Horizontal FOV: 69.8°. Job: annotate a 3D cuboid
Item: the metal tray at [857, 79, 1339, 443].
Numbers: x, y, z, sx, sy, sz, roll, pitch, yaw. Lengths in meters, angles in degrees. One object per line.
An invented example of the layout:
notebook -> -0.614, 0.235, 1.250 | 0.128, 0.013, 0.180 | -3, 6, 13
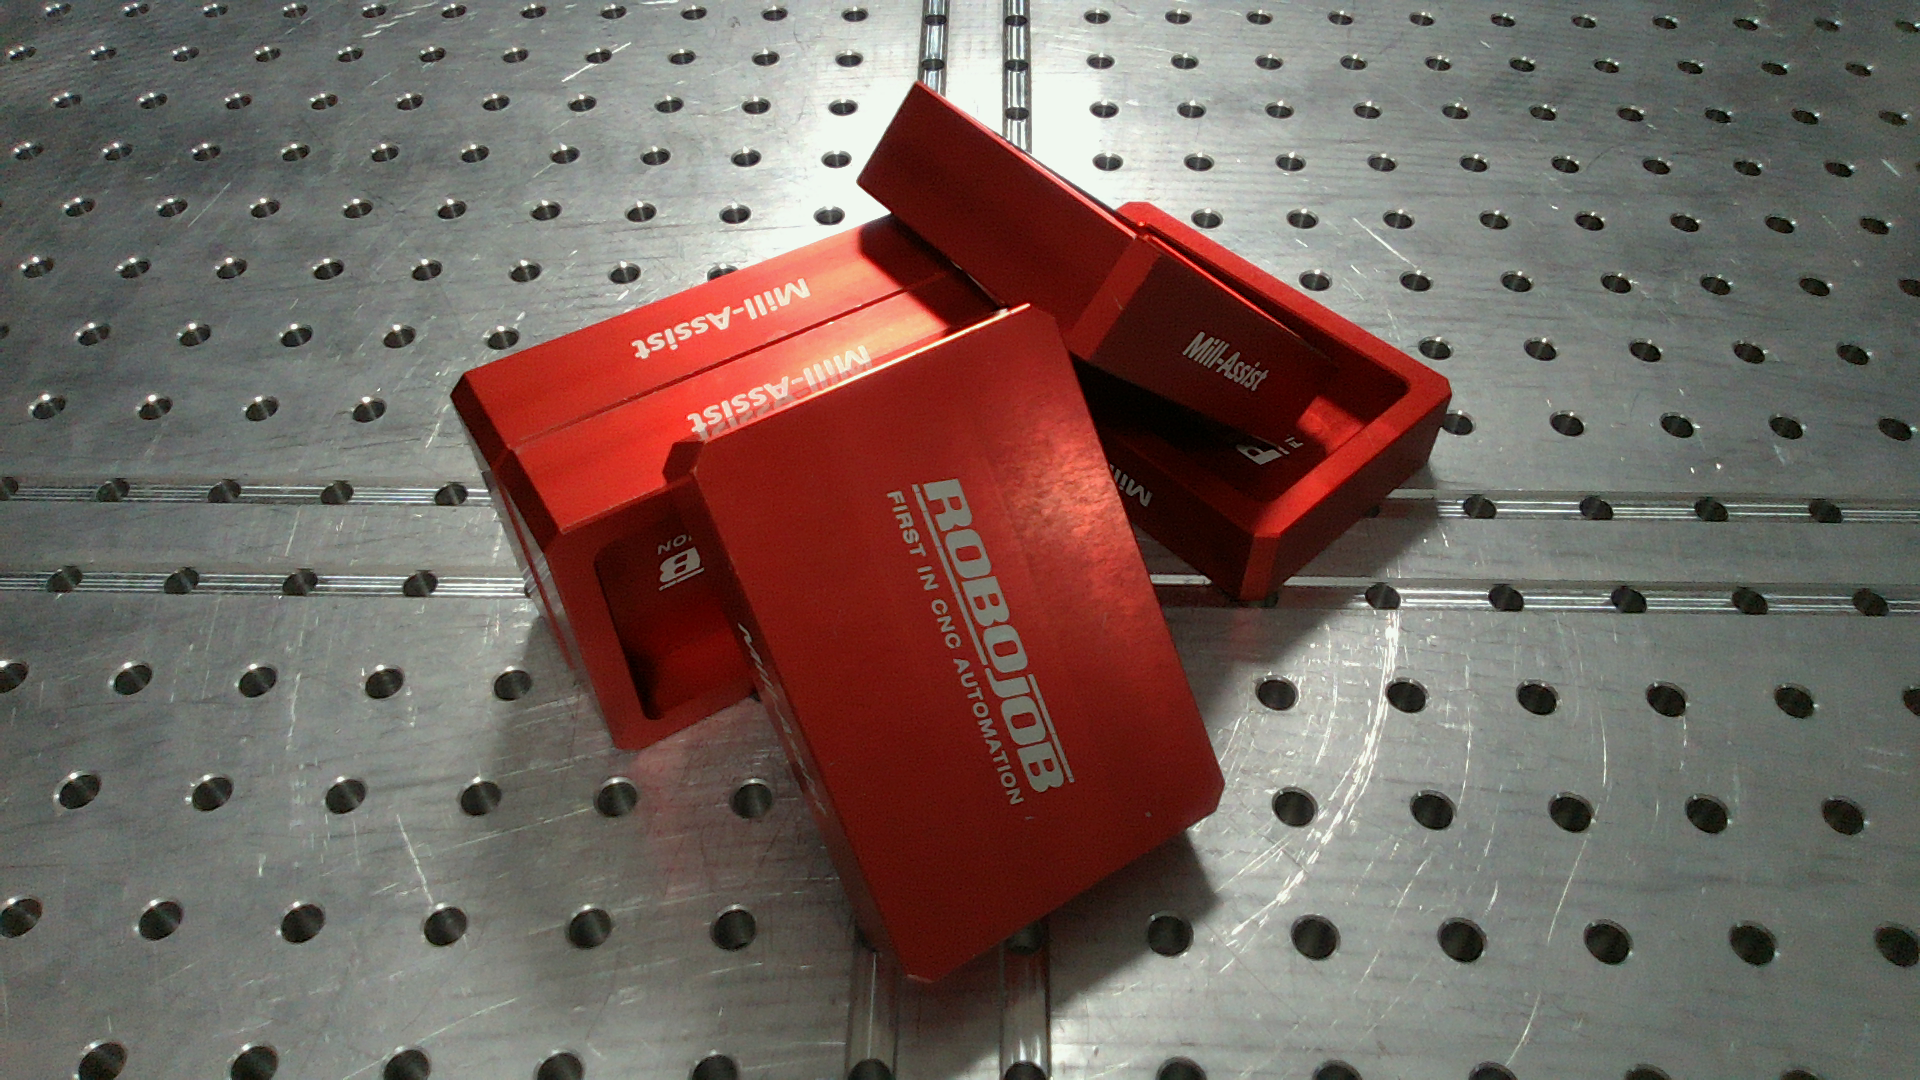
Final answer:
metal tray -> 0.043, -0.074, 0.383 | 0.090, 0.030, 0.130 | 43, 17, 30

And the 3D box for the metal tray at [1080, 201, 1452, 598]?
metal tray -> 0.073, -0.049, 0.431 | 0.090, 0.030, 0.130 | -36, 59, -26

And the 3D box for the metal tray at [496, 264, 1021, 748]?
metal tray -> -0.042, -0.008, 0.357 | 0.130, 0.090, 0.030 | -26, 54, -20

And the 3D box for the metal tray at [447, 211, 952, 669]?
metal tray -> -0.060, -0.027, 0.374 | 0.130, 0.090, 0.030 | -26, 54, -20

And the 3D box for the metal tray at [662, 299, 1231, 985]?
metal tray -> 0.000, 0.022, 0.316 | 0.090, 0.130, 0.030 | -26, 13, -20
